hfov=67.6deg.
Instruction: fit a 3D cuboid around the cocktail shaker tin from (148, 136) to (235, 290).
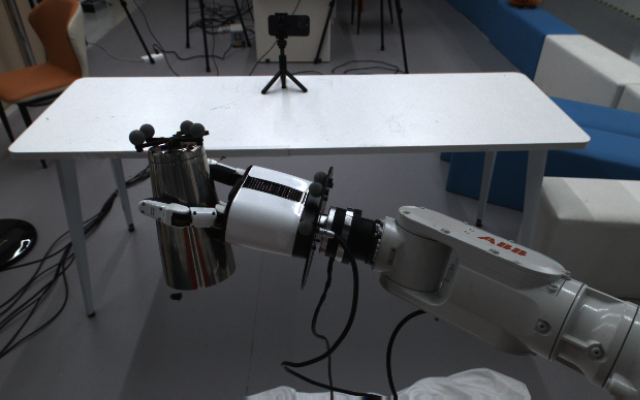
[{"bbox_3d":[-0.164,0.016,0.606,0.093,0.170,0.093,-6,19,2],"label":"cocktail shaker tin"}]
